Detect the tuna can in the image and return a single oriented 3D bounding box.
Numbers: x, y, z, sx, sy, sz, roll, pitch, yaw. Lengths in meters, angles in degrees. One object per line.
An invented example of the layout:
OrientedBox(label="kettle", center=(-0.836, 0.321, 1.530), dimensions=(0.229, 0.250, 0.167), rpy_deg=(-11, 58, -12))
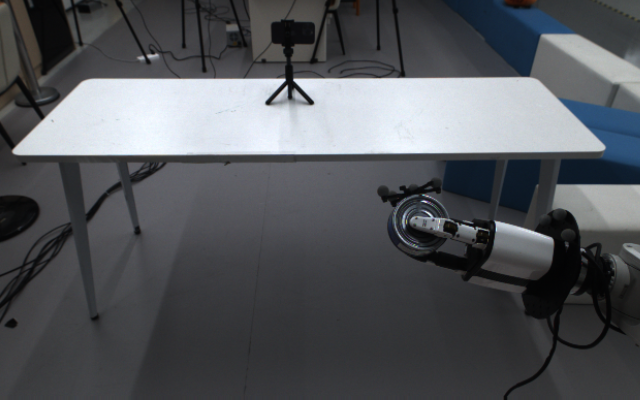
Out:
OrientedBox(label="tuna can", center=(0.144, 0.033, 0.692), dimensions=(0.085, 0.034, 0.085), rpy_deg=(0, 72, -1))
